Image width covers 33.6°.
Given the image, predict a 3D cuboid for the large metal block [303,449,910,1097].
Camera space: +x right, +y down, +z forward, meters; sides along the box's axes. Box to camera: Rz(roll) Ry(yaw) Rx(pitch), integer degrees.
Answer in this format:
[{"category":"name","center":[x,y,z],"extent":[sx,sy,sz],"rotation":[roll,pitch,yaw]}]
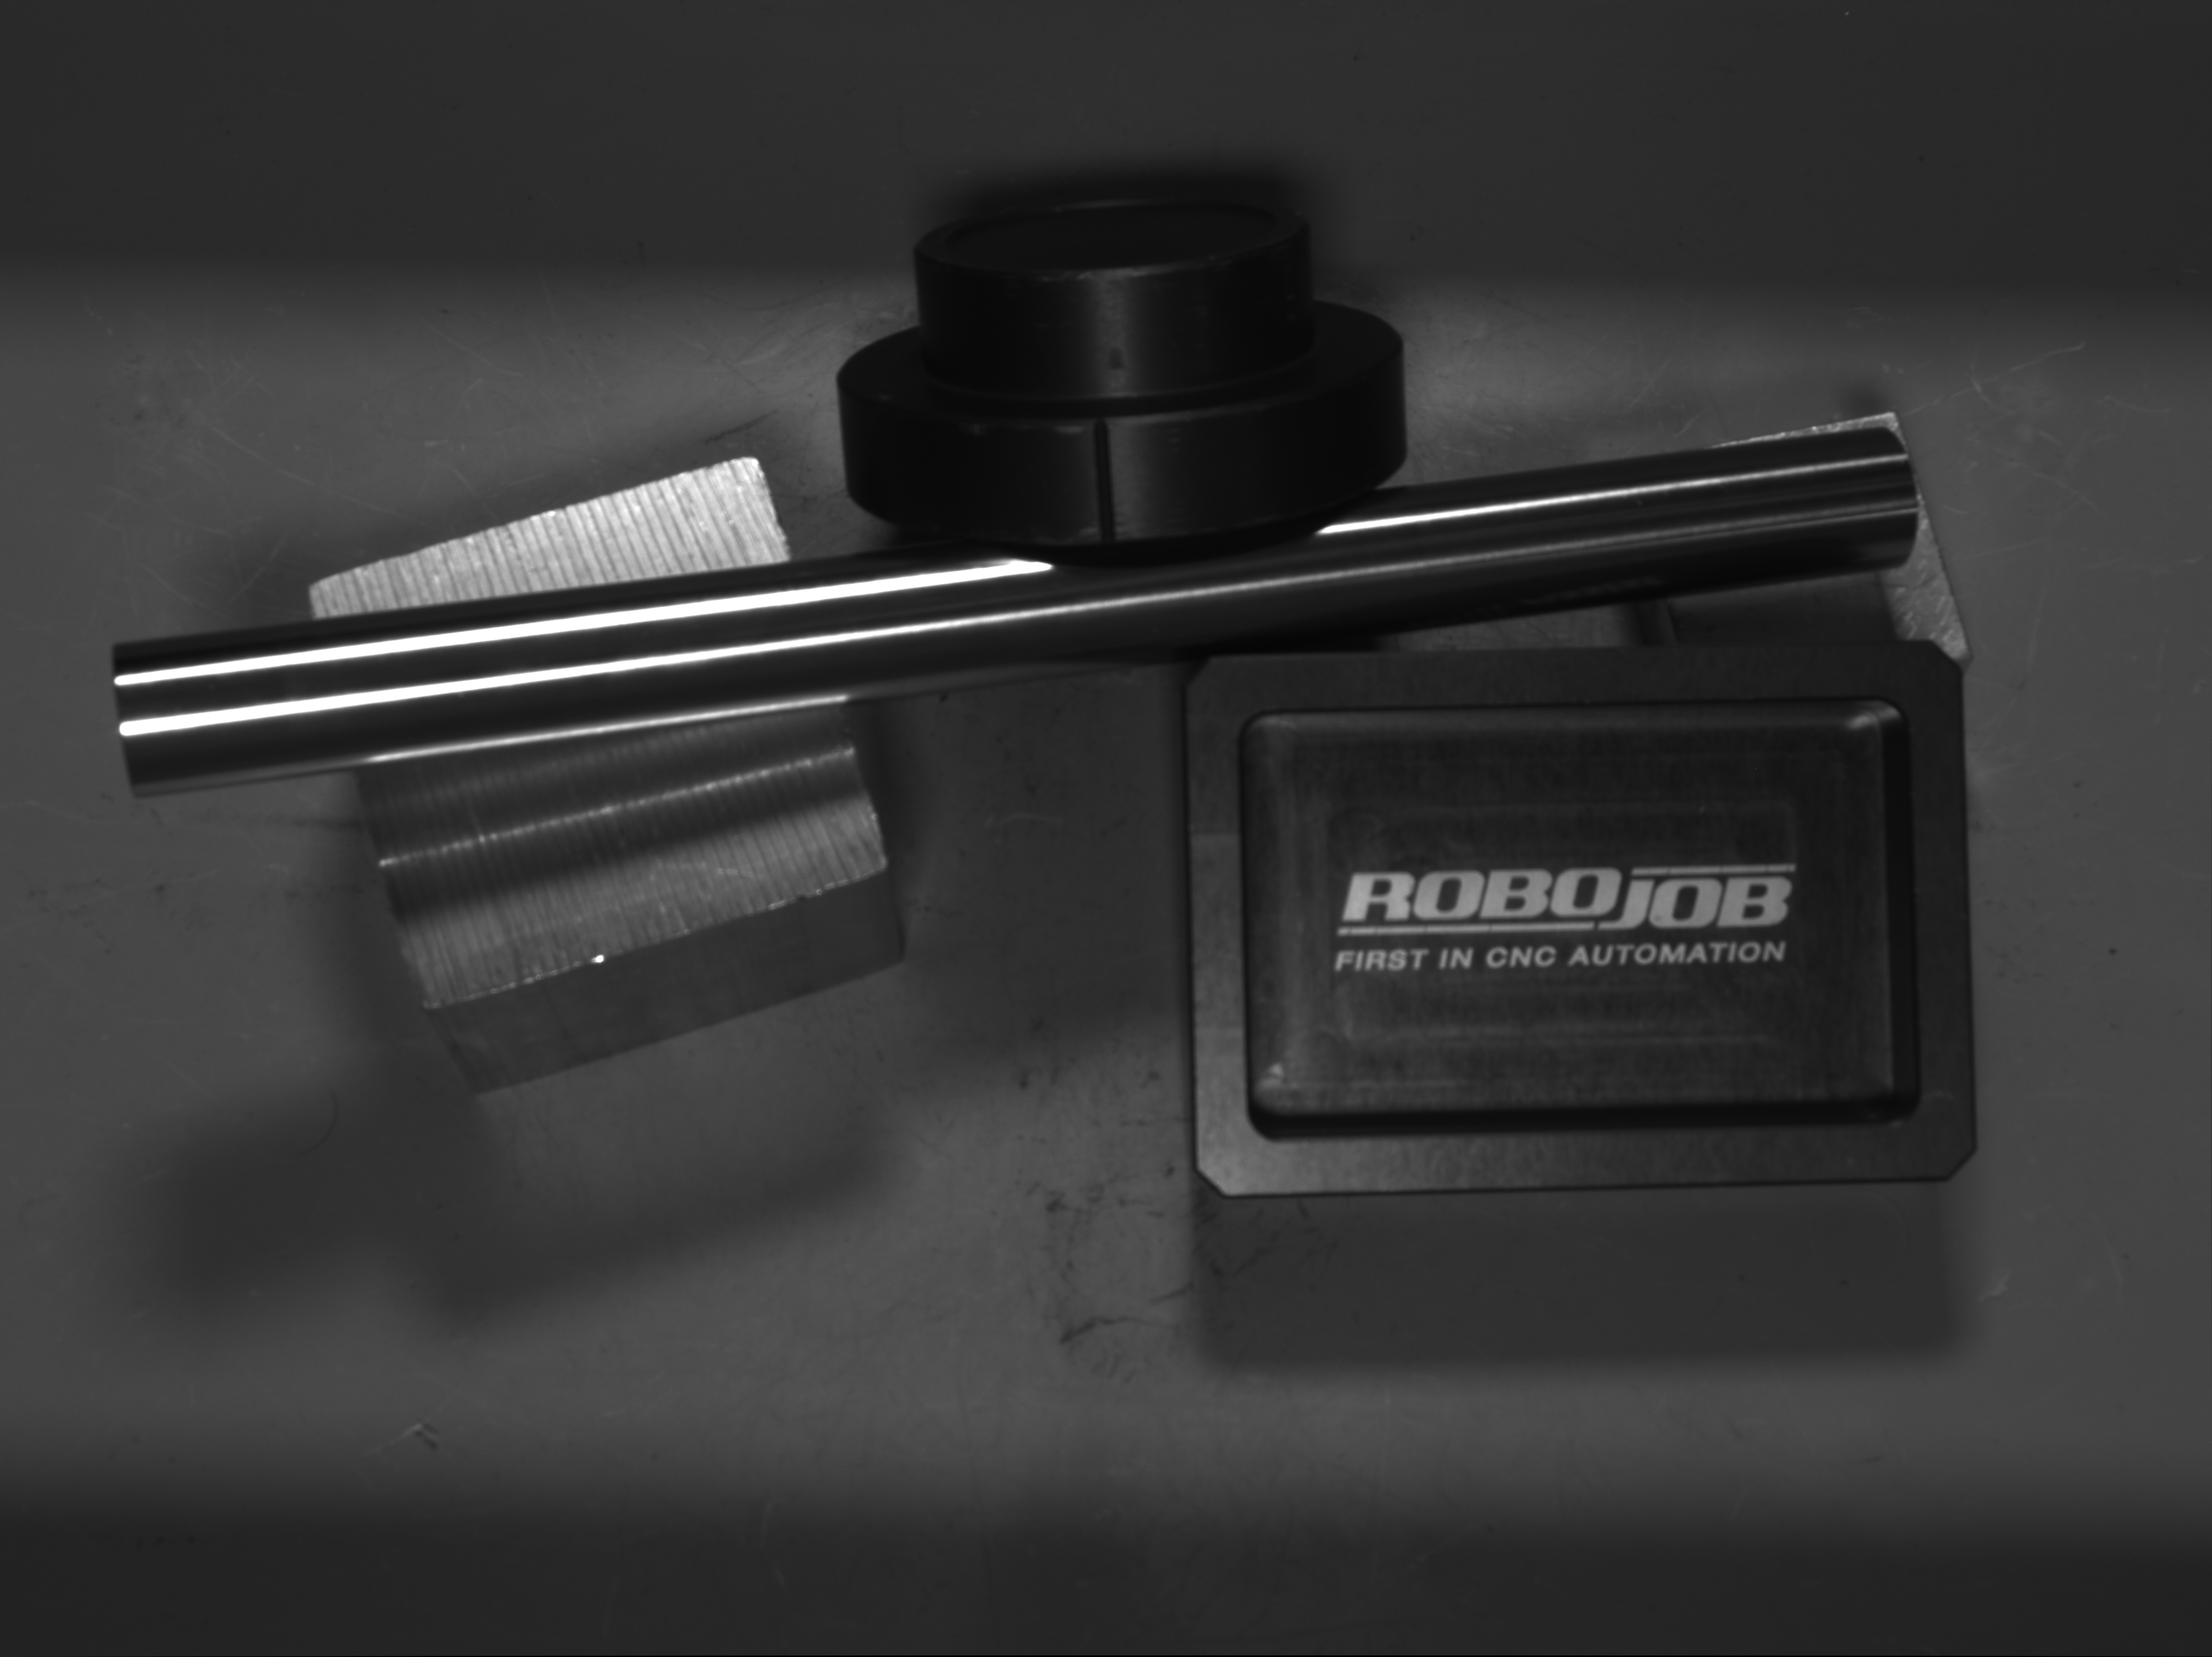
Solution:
[{"category":"large metal block","center":[-0.085,-0.009,0.633],"extent":[0.080,0.050,0.080],"rotation":[-17,71,-6]}]

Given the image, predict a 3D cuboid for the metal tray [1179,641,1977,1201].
[{"category":"metal tray","center":[0.078,0.015,0.620],"extent":[0.130,0.030,0.090],"rotation":[-1,89,-1]}]

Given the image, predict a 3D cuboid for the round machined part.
[{"category":"round machined part","center":[0.002,-0.082,0.633],"extent":[0.098,0.098,0.042],"rotation":[-4,110,-1]}]

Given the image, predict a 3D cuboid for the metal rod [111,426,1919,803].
[{"category":"metal rod","center":[-0.010,-0.037,0.610],"extent":[0.300,0.025,0.025],"rotation":[-8,70,-11]}]

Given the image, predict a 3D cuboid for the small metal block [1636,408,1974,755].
[{"category":"small metal block","center":[0.123,-0.044,0.659],"extent":[0.050,0.025,0.050],"rotation":[-11,70,-4]}]
